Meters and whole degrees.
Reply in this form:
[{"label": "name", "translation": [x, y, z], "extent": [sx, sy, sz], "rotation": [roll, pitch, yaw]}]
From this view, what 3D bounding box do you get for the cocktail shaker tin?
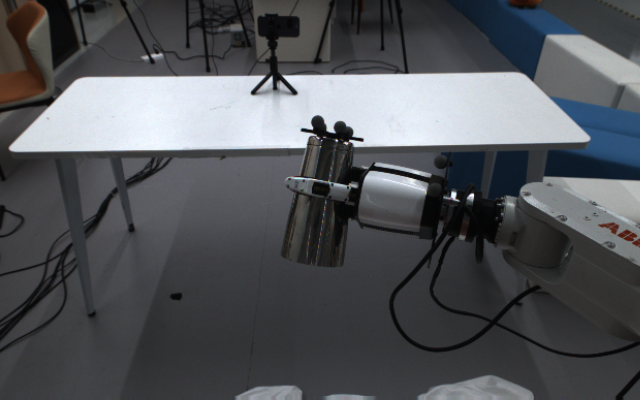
[{"label": "cocktail shaker tin", "translation": [0.003, 0.000, 0.683], "extent": [0.093, 0.170, 0.093], "rotation": [9, 3, 0]}]
